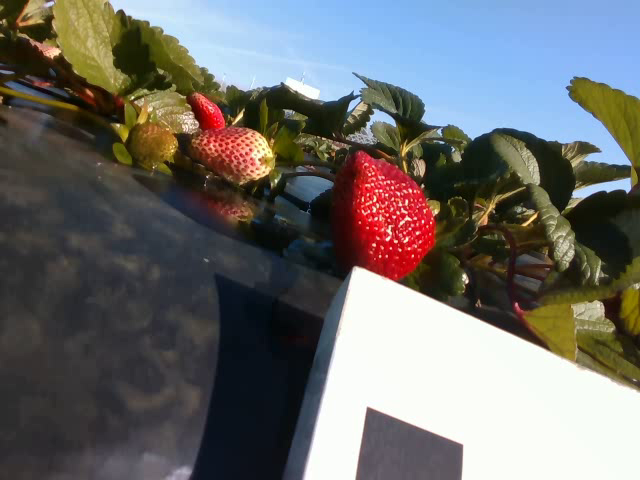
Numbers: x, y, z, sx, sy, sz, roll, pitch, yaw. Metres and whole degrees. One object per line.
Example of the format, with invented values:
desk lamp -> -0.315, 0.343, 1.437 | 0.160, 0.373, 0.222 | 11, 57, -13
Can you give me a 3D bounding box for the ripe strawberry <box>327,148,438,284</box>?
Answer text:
ripe strawberry -> 0.016, -0.008, 0.211 | 0.058, 0.066, 0.062 | -28, -24, -12
